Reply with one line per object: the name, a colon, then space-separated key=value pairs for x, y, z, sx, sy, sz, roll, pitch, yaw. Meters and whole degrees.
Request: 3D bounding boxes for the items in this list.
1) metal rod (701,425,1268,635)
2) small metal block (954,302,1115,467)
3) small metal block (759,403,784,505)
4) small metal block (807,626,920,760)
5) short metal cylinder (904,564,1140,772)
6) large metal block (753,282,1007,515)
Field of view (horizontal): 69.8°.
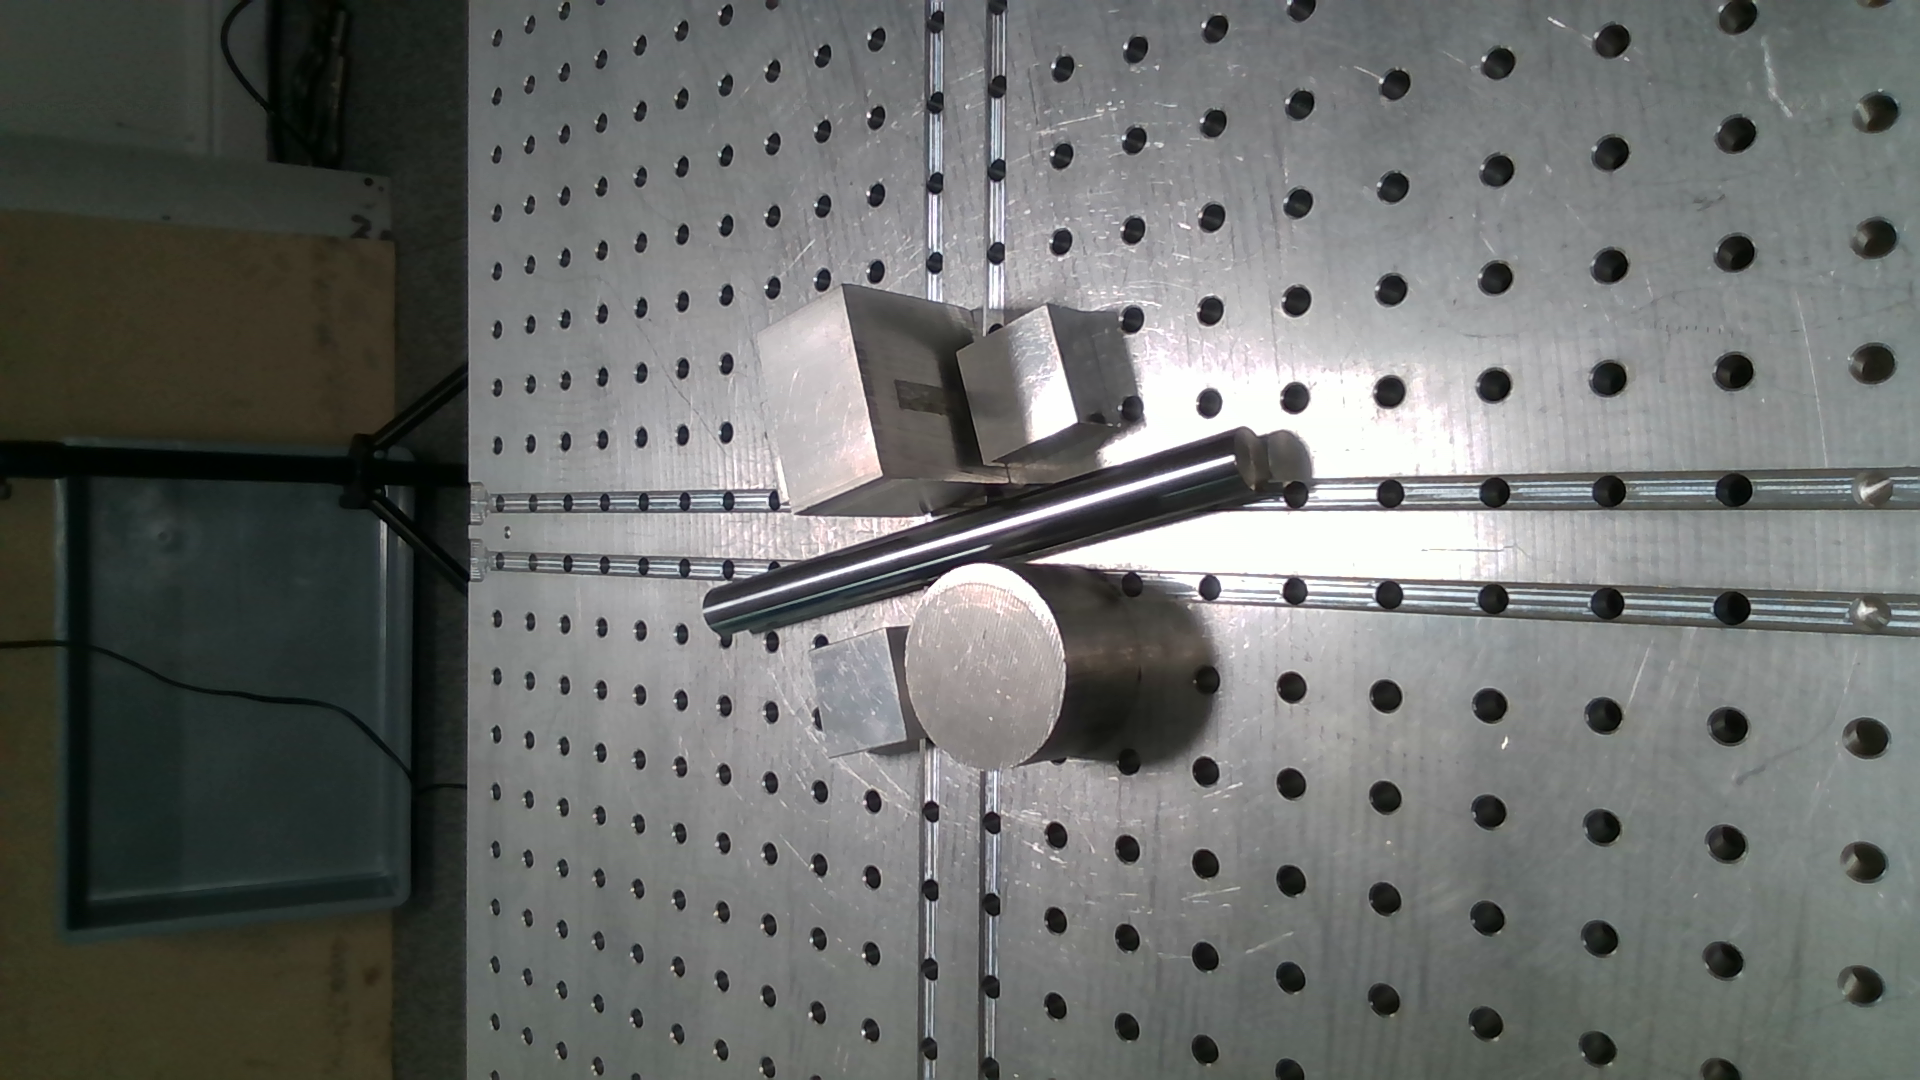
metal rod: x=-0.007 y=0.003 z=0.591 sx=0.300 sy=0.025 sz=0.025 roll=-16 pitch=80 yaw=39
small metal block: x=0.030 y=-0.062 z=0.559 sx=0.050 sy=0.025 sz=0.050 roll=-22 pitch=76 yaw=38
small metal block: x=-0.063 y=-0.047 z=0.638 sx=0.050 sy=0.025 sz=0.050 roll=-20 pitch=78 yaw=39
small metal block: x=-0.038 y=0.068 z=0.618 sx=0.050 sy=0.025 sz=0.050 roll=-19 pitch=78 yaw=39
short metal cylinder: x=0.024 y=0.049 z=0.548 sx=0.080 sy=0.050 sz=0.080 roll=0 pitch=91 yaw=40
large metal block: x=-0.033 y=-0.055 z=0.574 sx=0.050 sy=0.080 sz=0.080 roll=-20 pitch=78 yaw=39
